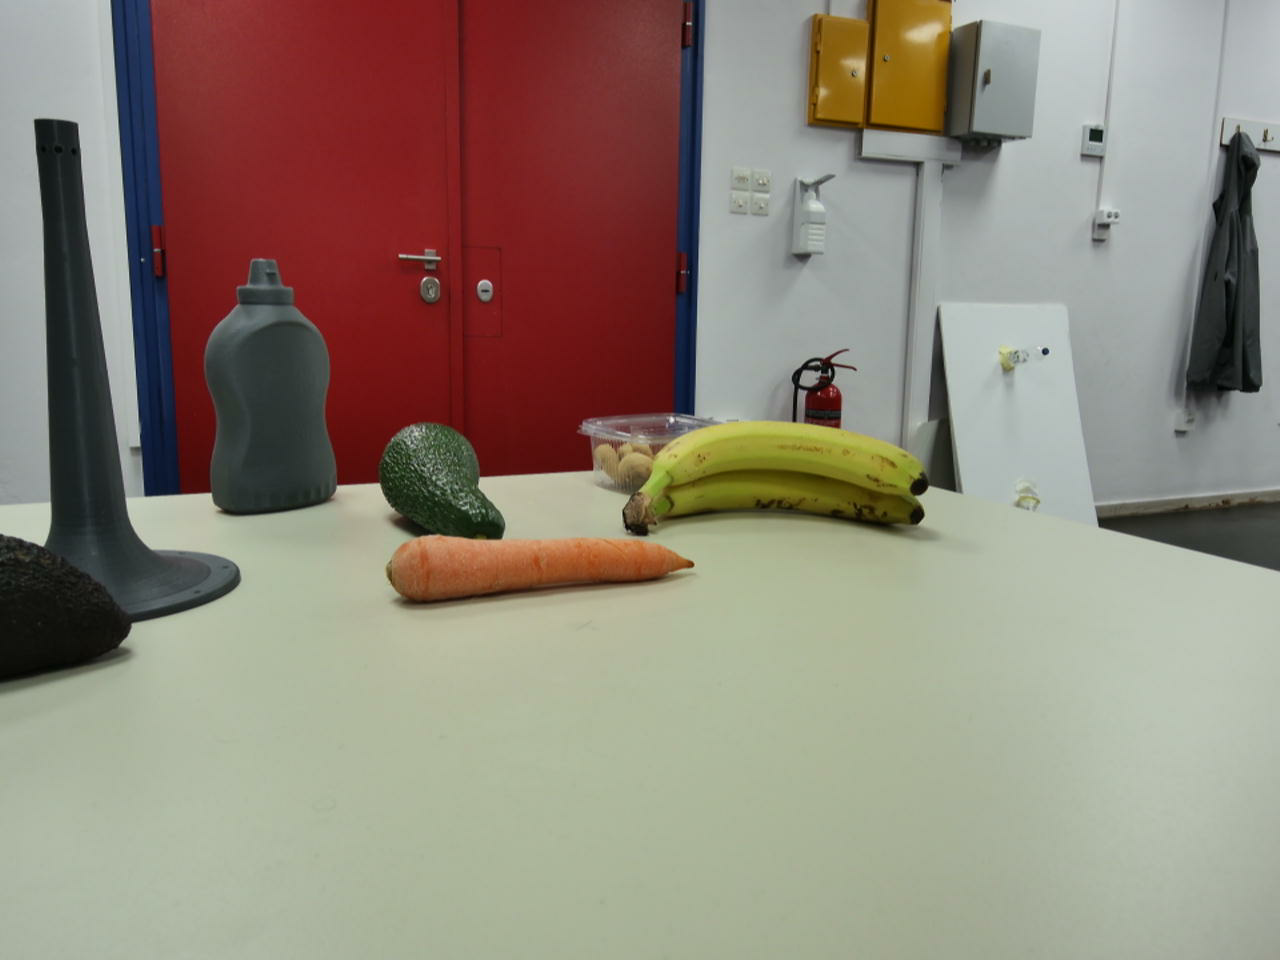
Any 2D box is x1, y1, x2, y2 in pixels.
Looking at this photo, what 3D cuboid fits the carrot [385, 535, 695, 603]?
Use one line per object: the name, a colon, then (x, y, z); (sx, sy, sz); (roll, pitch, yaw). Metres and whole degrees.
carrot: (-0.055, 0.048, 0.613); (0.196, 0.041, 0.039); (-4, 9, -24)
